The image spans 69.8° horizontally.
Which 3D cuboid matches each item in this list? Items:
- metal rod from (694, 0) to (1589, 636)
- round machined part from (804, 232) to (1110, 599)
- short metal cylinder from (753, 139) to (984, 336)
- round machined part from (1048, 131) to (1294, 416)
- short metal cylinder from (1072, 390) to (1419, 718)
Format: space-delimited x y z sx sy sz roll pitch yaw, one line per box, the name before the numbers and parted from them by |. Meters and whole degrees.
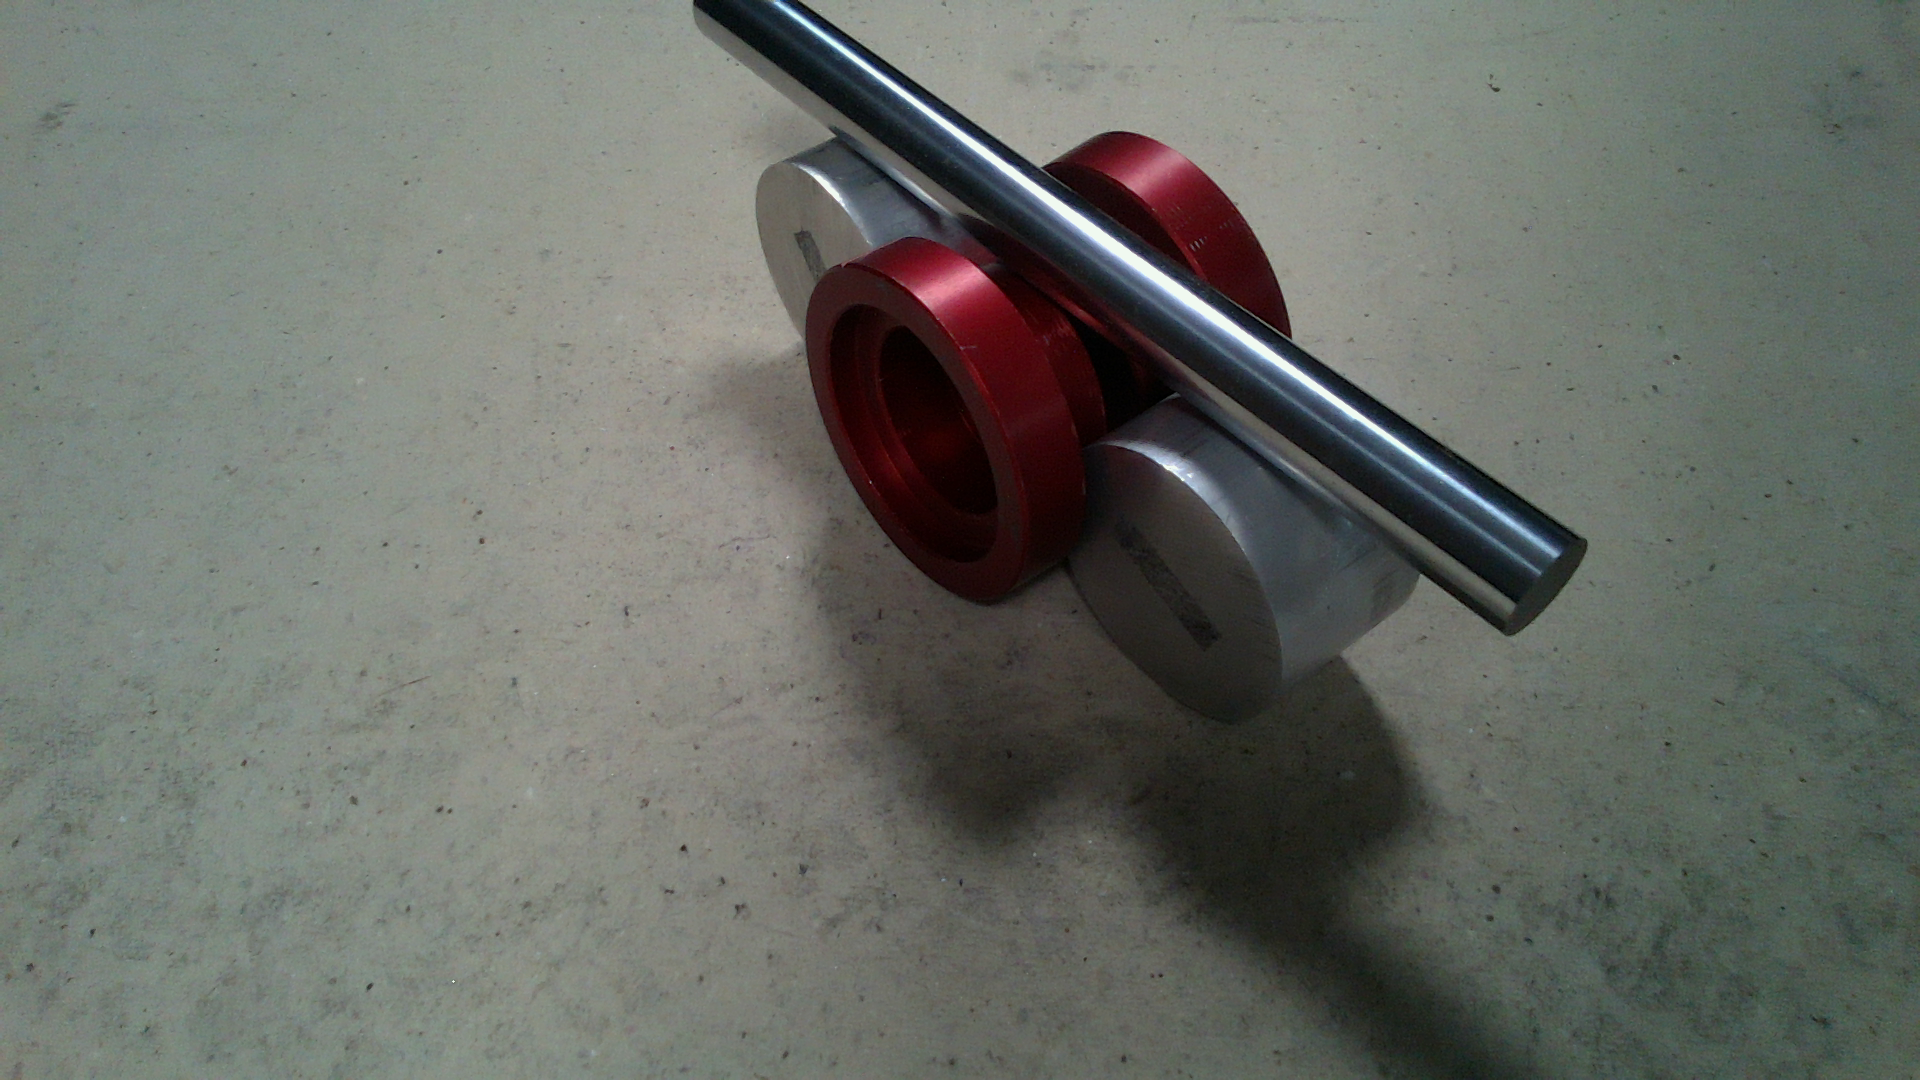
metal rod | 0.024 -0.078 0.354 0.025 0.025 0.299 -33 57 -24
round machined part | 0.003 -0.037 0.373 0.042 0.098 0.098 -29 56 -27
short metal cylinder | -0.021 -0.089 0.431 0.050 0.080 0.080 -32 57 -24
round machined part | 0.046 -0.063 0.398 0.042 0.098 0.098 -35 58 -20
short metal cylinder | 0.071 -0.001 0.357 0.050 0.080 0.080 -32 57 -24
